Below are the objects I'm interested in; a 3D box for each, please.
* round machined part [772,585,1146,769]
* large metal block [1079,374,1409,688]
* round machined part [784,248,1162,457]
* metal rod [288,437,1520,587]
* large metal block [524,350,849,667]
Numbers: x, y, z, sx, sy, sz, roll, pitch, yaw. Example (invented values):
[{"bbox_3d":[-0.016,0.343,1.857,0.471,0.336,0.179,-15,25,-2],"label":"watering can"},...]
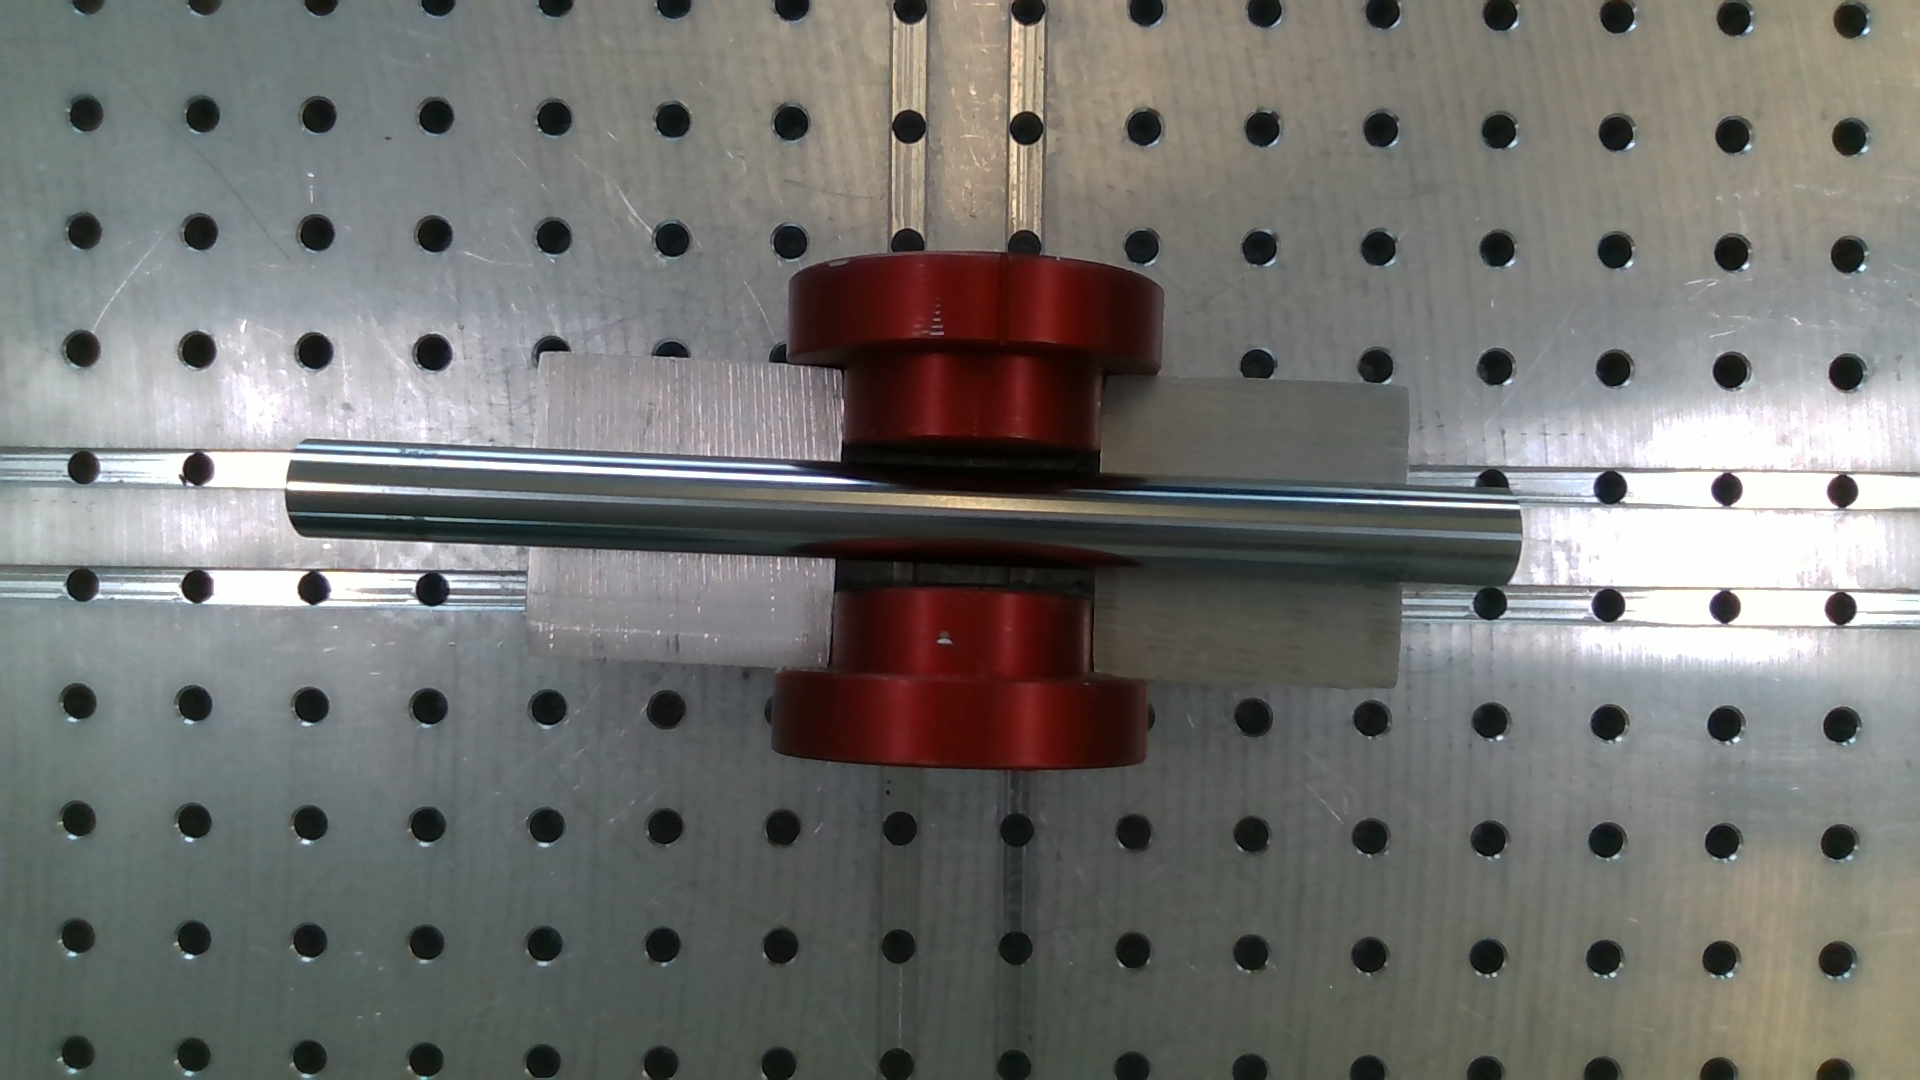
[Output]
[{"bbox_3d":[0.000,0.035,0.361,0.098,0.098,0.042,2,85,0],"label":"round machined part"},{"bbox_3d":[0.076,-0.002,0.385,0.080,0.050,0.080,2,90,0],"label":"large metal block"},{"bbox_3d":[0.003,-0.045,0.360,0.098,0.098,0.042,2,90,0],"label":"round machined part"},{"bbox_3d":[-0.014,-0.007,0.348,0.300,0.025,0.025,2,90,0],"label":"metal rod"},{"bbox_3d":[-0.072,-0.008,0.385,0.080,0.050,0.080,3,90,0],"label":"large metal block"}]
